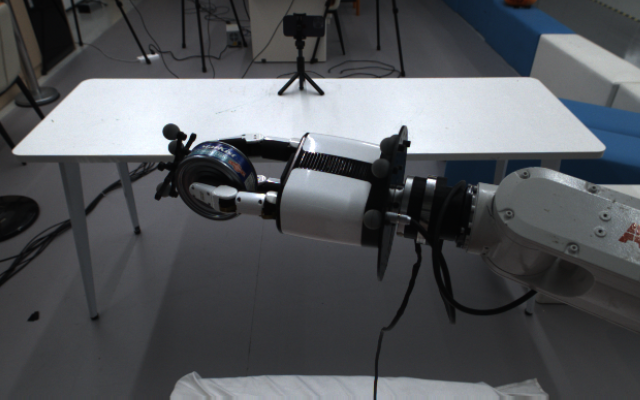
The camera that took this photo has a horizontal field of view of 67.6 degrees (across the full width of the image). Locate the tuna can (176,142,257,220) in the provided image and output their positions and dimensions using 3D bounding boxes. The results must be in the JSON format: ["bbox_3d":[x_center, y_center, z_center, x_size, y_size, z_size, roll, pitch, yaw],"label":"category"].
[{"bbox_3d":[-0.110,-0.016,0.528,0.085,0.085,0.034,9,36,10],"label":"tuna can"}]
